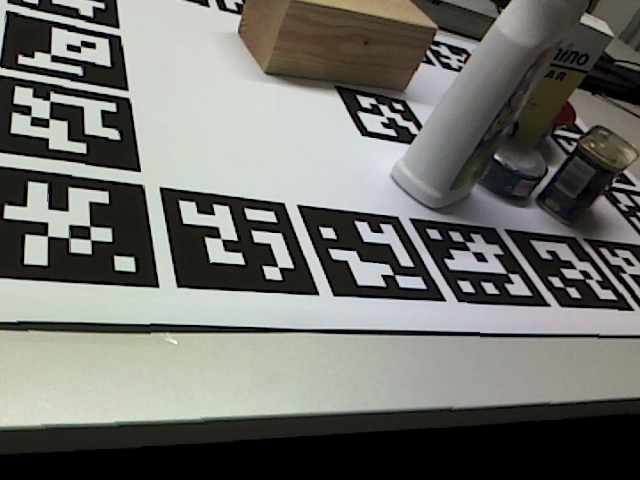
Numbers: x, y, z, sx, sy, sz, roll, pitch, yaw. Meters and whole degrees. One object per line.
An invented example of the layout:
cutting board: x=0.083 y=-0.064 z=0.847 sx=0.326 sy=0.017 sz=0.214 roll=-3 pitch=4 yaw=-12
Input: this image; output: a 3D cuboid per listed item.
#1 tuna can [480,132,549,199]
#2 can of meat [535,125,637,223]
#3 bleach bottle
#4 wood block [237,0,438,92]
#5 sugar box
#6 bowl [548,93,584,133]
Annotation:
tuna can: x=0.205 y=-0.085 z=0.681 sx=0.085 sy=0.034 sz=0.086 roll=15 pitch=42 yaw=-15
can of meat: x=0.294 y=-0.074 z=0.691 sx=0.058 sy=0.084 sz=0.101 roll=40 pitch=38 yaw=22
bleach bottle: x=0.160 y=-0.149 z=0.558 sx=0.102 sy=0.251 sz=0.068 roll=-20 pitch=56 yaw=-43
wood block: x=0.022 y=-0.245 z=0.726 sx=0.205 sy=0.090 sz=0.091 roll=-2 pitch=50 yaw=-34
sugar box: x=0.234 y=-0.177 z=0.689 sx=0.093 sy=0.176 sz=0.045 roll=17 pitch=41 yaw=-7
bowl: x=0.259 y=-0.184 z=0.817 sx=0.161 sy=0.055 sz=0.162 roll=13 pitch=40 yaw=-11
